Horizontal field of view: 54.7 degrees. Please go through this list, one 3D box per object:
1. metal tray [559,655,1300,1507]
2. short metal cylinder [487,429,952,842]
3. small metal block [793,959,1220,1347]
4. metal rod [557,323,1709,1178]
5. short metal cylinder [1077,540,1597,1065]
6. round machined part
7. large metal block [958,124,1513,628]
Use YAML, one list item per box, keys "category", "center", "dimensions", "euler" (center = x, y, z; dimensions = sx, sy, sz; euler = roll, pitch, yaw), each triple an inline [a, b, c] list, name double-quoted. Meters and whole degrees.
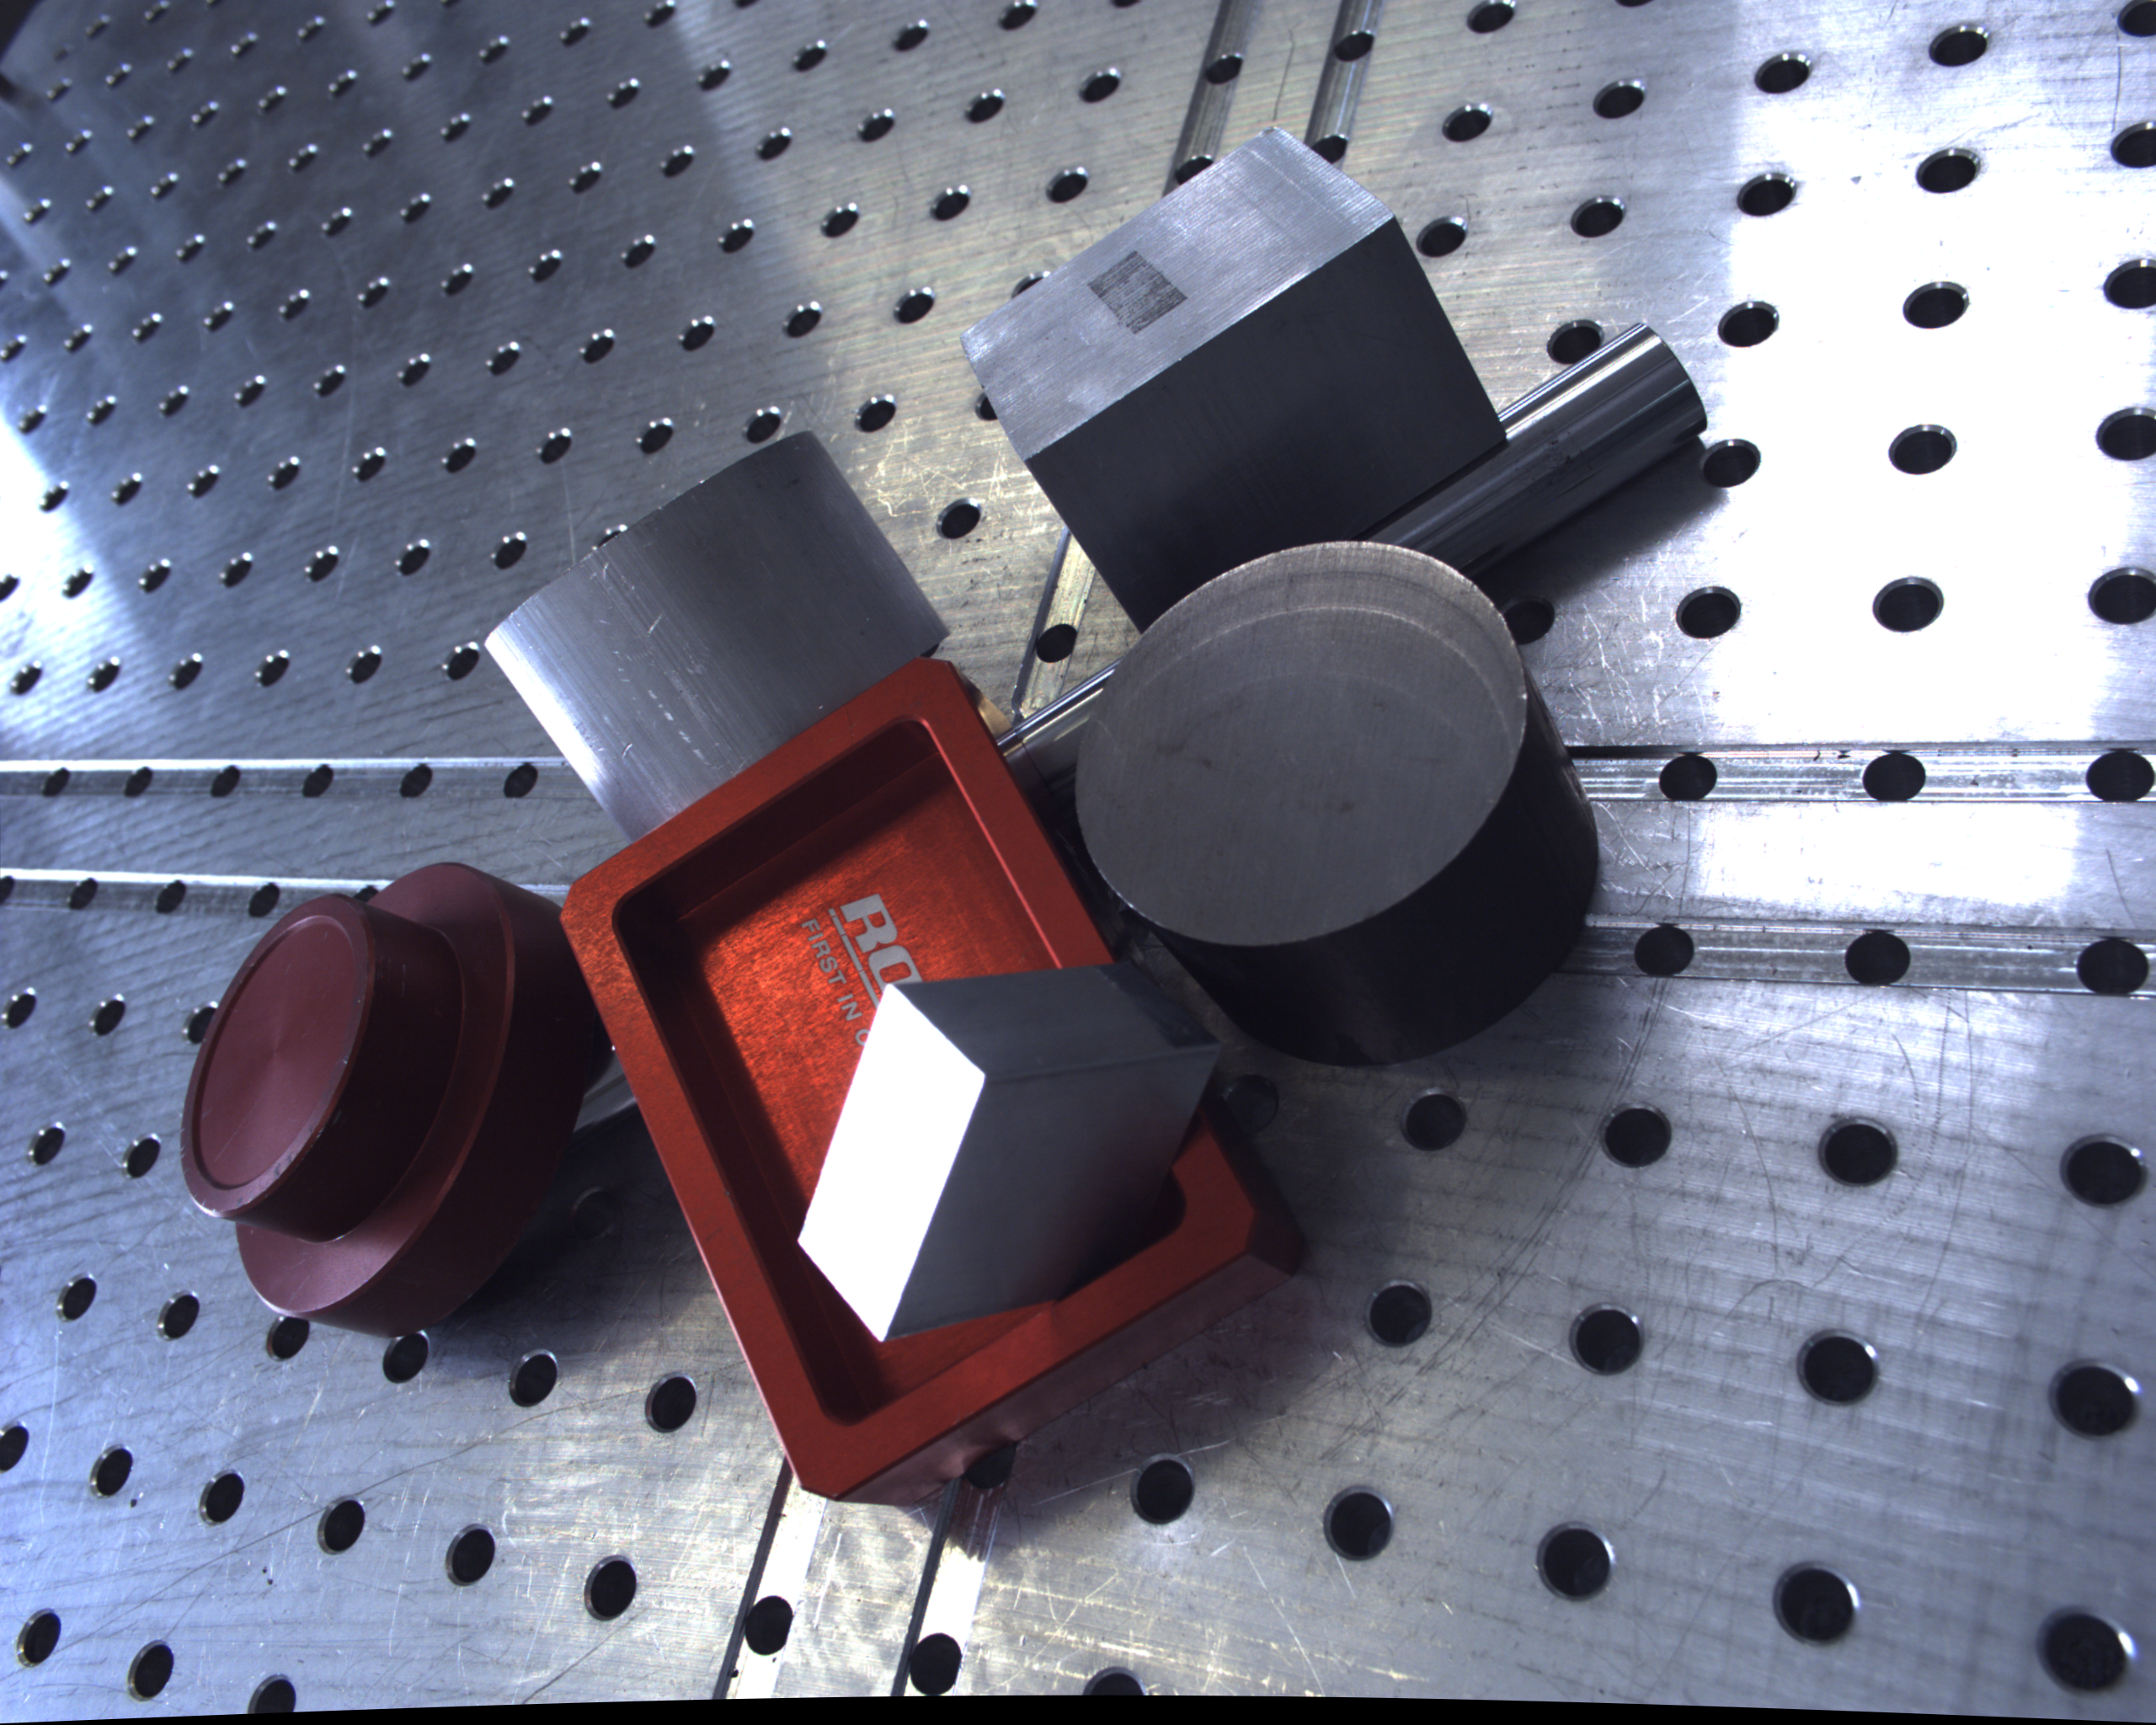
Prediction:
- category: "metal tray"
  center: [-0.030, 0.038, 0.379]
  dimensions: [0.090, 0.030, 0.130]
  euler: [-33, 64, 7]
- category: "short metal cylinder"
  center: [-0.074, -0.046, 0.433]
  dimensions: [0.080, 0.050, 0.080]
  euler: [-33, 8, 6]
- category: "small metal block"
  center: [-0.011, 0.045, 0.333]
  dimensions: [0.025, 0.050, 0.050]
  euler: [40, 120, 37]
- category: "metal rod"
  center: [-0.010, -0.013, 0.424]
  dimensions: [0.300, 0.025, 0.025]
  euler: [-33, 52, 7]
- category: "short metal cylinder"
  center: [0.047, -0.010, 0.373]
  dimensions: [0.080, 0.050, 0.080]
  euler: [-13, 56, 21]
- category: "round machined part"
  center: [-0.147, 0.045, 0.431]
  dimensions: [0.098, 0.042, 0.098]
  euler: [-22, 54, 35]
- category: "large metal block"
  center: [0.028, -0.097, 0.422]
  dimensions: [0.080, 0.050, 0.080]
  euler: [-32, 32, 7]
